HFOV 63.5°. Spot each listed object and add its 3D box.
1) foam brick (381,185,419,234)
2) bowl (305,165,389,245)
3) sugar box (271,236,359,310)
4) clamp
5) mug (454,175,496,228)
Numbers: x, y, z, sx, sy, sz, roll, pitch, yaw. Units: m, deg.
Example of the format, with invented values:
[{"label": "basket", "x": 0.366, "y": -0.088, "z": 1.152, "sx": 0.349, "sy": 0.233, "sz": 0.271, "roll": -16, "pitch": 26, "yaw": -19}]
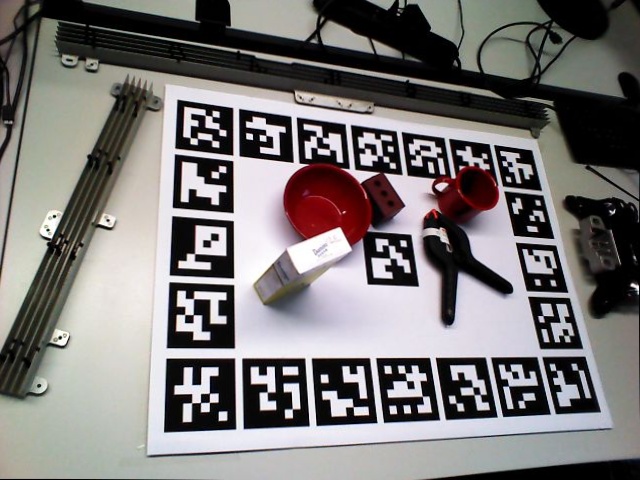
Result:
[{"label": "foam brick", "x": 0.142, "y": -0.060, "z": 0.944, "sx": 0.052, "sy": 0.052, "sz": 0.078, "roll": -24, "pitch": 80, "yaw": -25}, {"label": "bowl", "x": 0.035, "y": -0.046, "z": 0.891, "sx": 0.161, "sy": 0.055, "sz": 0.161, "roll": 7, "pitch": 67, "yaw": -18}, {"label": "sugar box", "x": -0.008, "y": 0.052, "z": 0.769, "sx": 0.092, "sy": 0.177, "sz": 0.045, "roll": -22, "pitch": 80, "yaw": -27}, {"label": "clamp", "x": 0.278, "y": 0.044, "z": 0.947, "sx": 0.165, "sy": 0.037, "sz": 0.202, "roll": -20, "pitch": 79, "yaw": -23}, {"label": "mug", "x": 0.308, "y": -0.079, "z": 0.985, "sx": 0.117, "sy": 0.082, "sz": 0.092, "roll": 30, "pitch": 62, "yaw": -11}]
